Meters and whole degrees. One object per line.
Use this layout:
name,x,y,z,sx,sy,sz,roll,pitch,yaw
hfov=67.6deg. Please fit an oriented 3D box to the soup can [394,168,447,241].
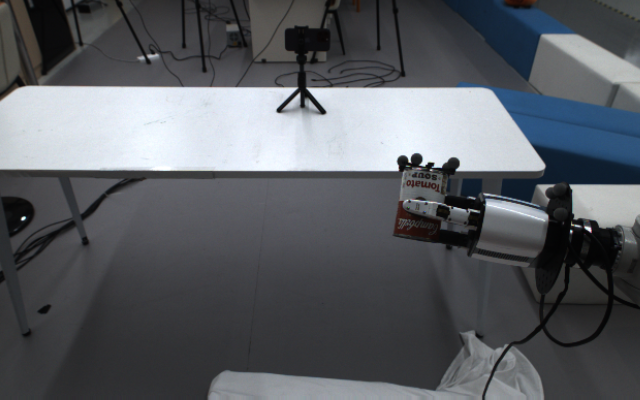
soup can,0.150,0.006,0.715,0.067,0.101,0.067,9,-5,1
